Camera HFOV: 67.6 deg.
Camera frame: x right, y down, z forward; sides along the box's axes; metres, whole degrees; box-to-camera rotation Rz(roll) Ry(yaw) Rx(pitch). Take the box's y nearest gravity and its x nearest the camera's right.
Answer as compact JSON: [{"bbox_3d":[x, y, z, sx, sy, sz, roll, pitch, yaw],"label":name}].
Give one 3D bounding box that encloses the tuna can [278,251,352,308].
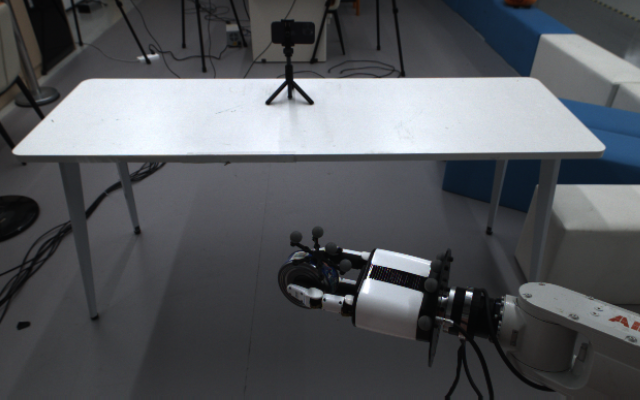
[{"bbox_3d":[-0.016,0.116,0.705,0.085,0.085,0.034,15,31,18],"label":"tuna can"}]
